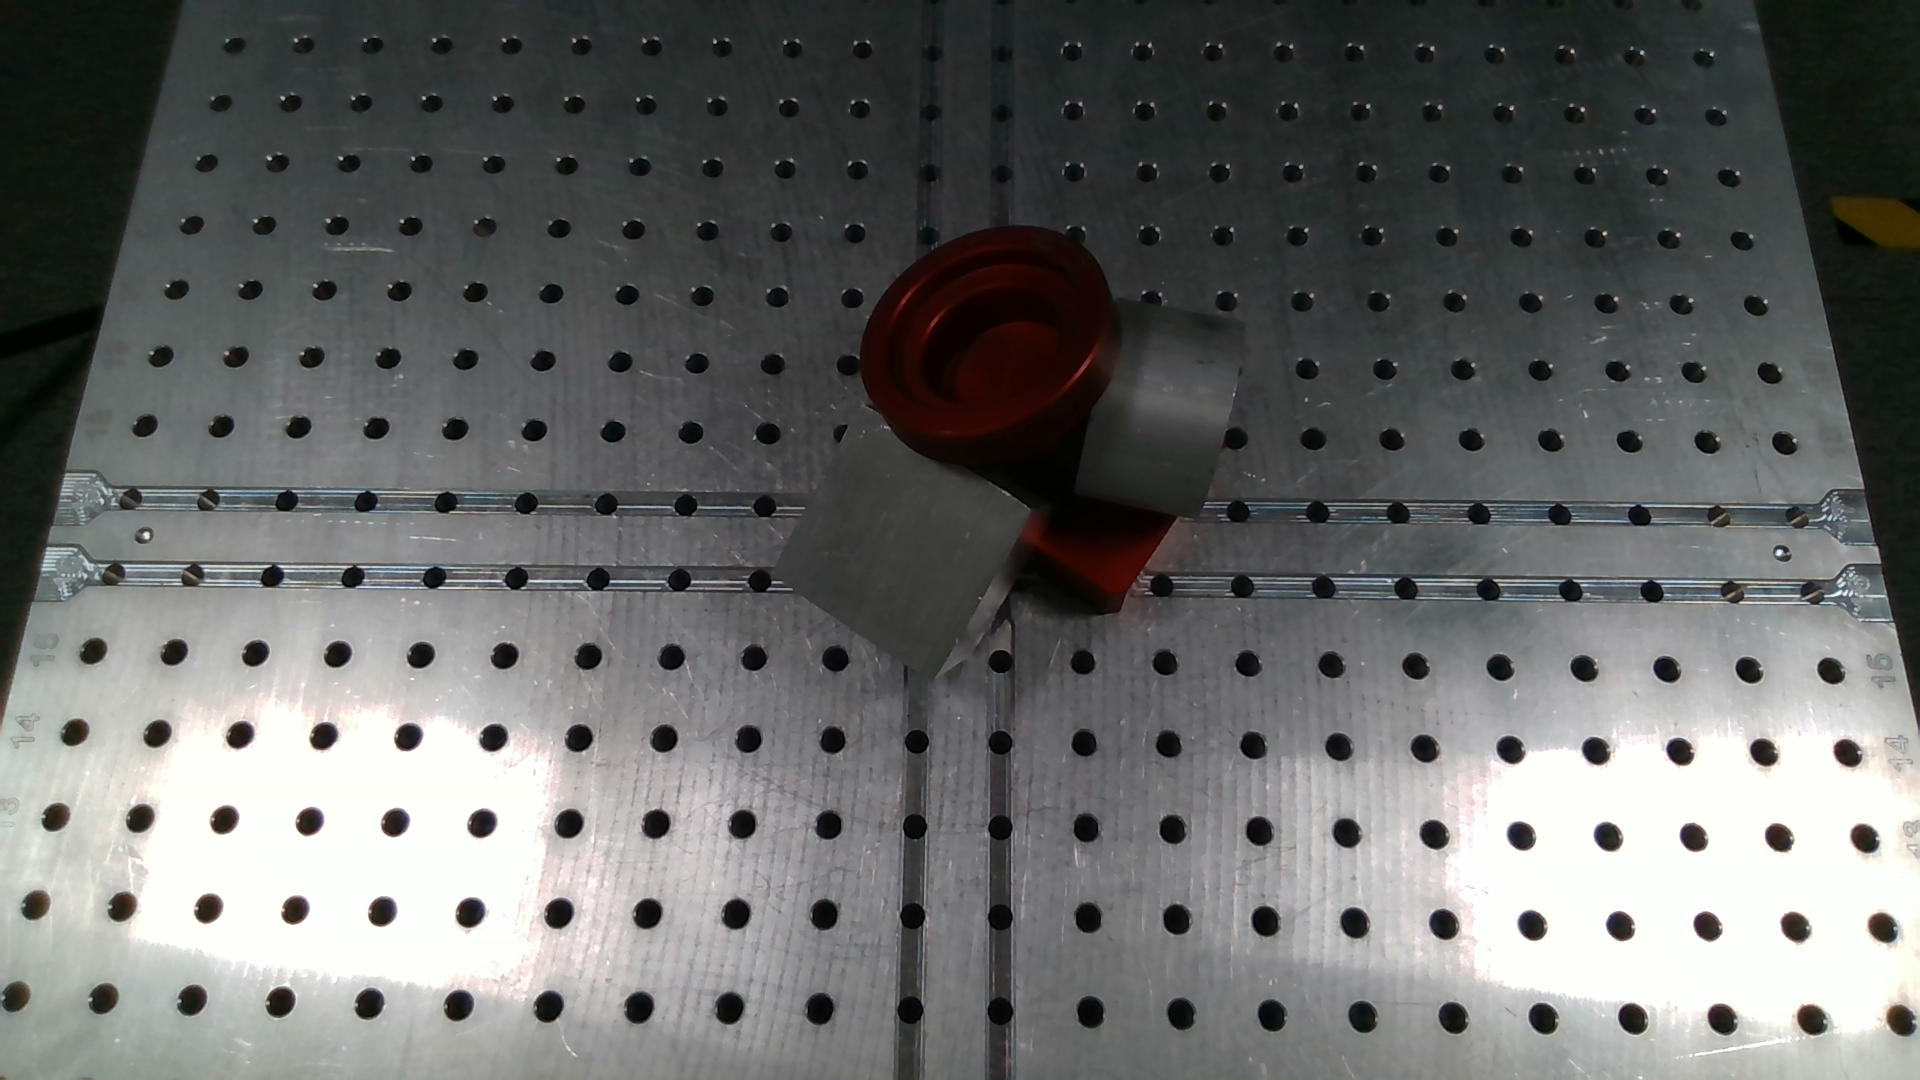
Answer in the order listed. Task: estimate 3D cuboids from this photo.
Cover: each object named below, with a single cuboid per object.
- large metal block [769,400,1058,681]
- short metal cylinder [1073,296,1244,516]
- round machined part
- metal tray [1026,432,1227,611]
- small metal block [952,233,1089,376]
[{"bbox_3d":[-0.017,-0.002,0.559,0.080,0.050,0.080,32,104,11],"label":"large metal block"},{"bbox_3d":[0.078,-0.053,0.548,0.050,0.080,0.080,13,71,4],"label":"short metal cylinder"},{"bbox_3d":[0.014,-0.070,0.527,0.098,0.042,0.098,-11,57,17],"label":"round machined part"},{"bbox_3d":[0.038,-0.040,0.603,0.130,0.030,0.090,33,74,11],"label":"metal tray"},{"bbox_3d":[0.024,-0.098,0.579,0.050,0.050,0.025,18,71,6],"label":"small metal block"}]
